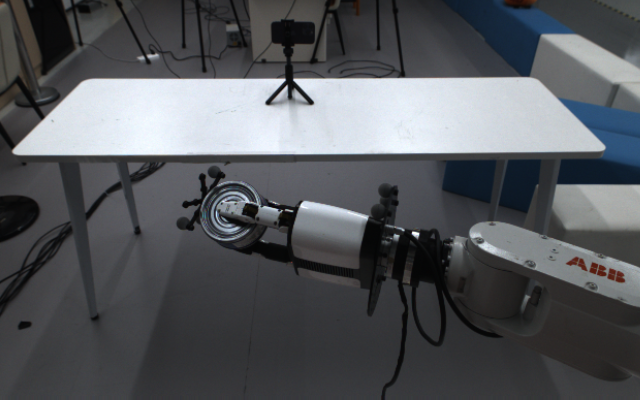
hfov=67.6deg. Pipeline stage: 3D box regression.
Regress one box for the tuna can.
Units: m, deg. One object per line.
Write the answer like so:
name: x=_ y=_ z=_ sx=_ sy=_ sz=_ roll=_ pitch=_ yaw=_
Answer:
tuna can: x=-0.106 y=0.024 z=0.623 sx=0.085 sy=0.034 sz=0.085 roll=-3 pitch=70 yaw=9
